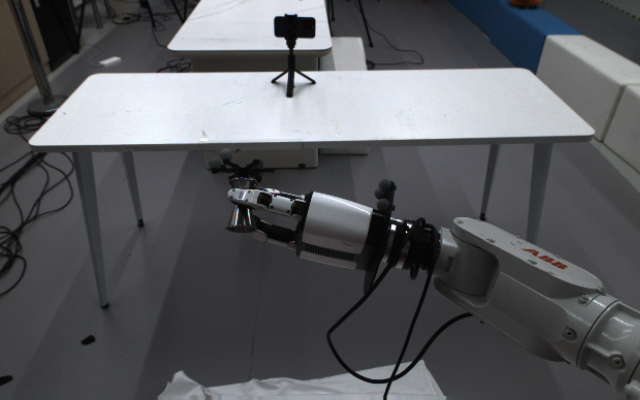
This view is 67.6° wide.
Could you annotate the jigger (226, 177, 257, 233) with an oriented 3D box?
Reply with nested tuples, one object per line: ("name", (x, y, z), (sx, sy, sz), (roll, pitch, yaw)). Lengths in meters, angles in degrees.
("jigger", (-0.106, 0.007, 0.665), (0.043, 0.043, 0.071), (0, 75, -3))
